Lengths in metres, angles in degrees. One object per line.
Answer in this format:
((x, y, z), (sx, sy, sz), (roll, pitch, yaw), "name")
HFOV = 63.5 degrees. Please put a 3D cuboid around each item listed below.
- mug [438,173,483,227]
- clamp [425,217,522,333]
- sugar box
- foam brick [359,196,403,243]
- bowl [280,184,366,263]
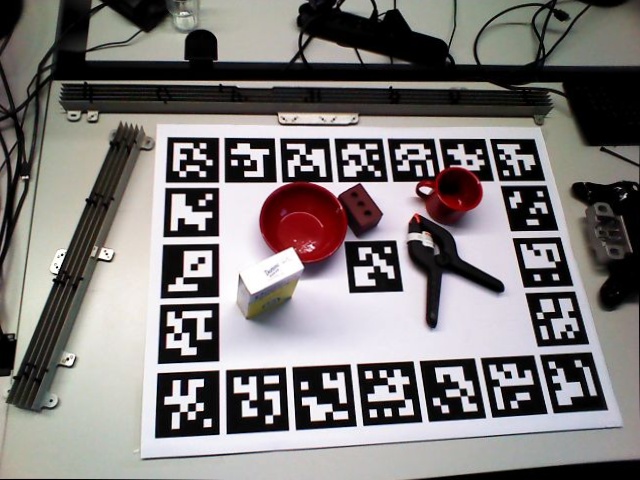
((0.281, -0.079, 0.986), (0.117, 0.082, 0.093), (24, 68, -1), "mug")
((0.255, 0.047, 0.954), (0.165, 0.037, 0.202), (-24, 75, -13), "clamp")
((-0.058, 0.084, 0.832), (0.092, 0.177, 0.045), (-25, 76, -17), "sugar box")
((0.112, -0.044, 0.976), (0.052, 0.051, 0.078), (-28, 76, -15), "foam brick")
((-0.001, -0.020, 0.944), (0.162, 0.055, 0.161), (3, 69, -7), "bowl")
